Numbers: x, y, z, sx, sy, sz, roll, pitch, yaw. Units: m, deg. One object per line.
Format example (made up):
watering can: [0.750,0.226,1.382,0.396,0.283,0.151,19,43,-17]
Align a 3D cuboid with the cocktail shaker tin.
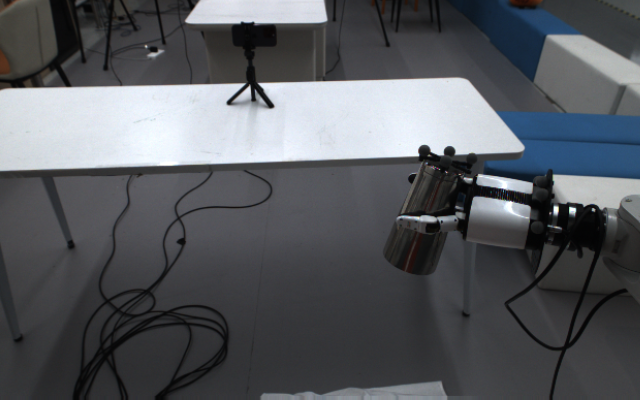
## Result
cocktail shaker tin: [0.170,0.020,0.769,0.093,0.170,0.093,12,24,-5]
